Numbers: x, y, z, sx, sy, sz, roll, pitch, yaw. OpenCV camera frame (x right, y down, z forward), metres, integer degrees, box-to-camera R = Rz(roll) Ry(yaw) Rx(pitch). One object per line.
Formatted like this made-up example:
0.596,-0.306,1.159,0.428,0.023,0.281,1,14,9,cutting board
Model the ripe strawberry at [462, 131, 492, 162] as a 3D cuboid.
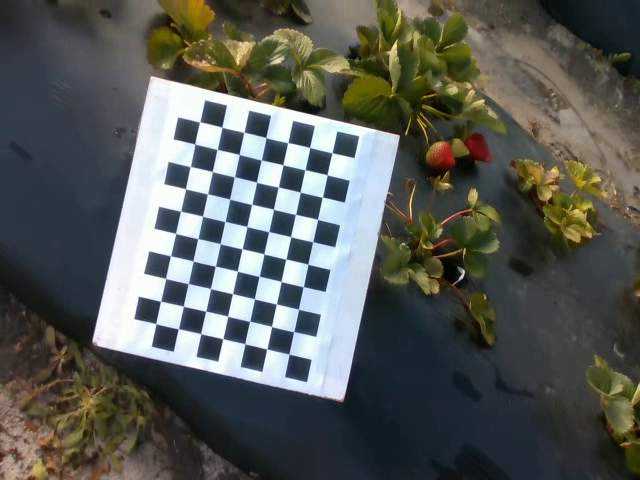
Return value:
0.262,-0.148,1.017,0.048,0.065,0.050,-36,-5,-1,ripe strawberry
